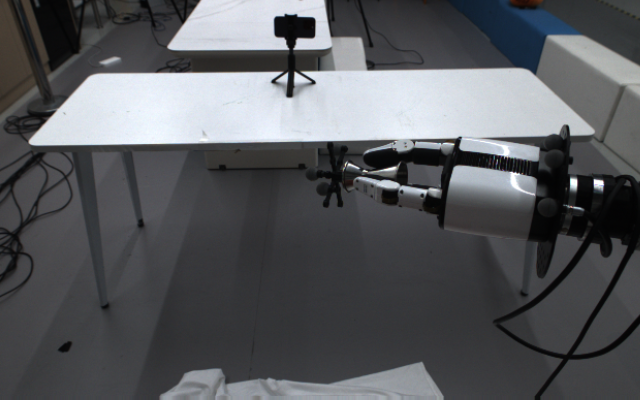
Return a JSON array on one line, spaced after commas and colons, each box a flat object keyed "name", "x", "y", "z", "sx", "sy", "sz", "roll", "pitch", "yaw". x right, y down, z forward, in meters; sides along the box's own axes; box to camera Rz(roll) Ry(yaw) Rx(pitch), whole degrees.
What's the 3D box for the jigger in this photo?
[{"name": "jigger", "x": 0.072, "y": -0.032, "z": 0.573, "sx": 0.071, "sy": 0.043, "sz": 0.043, "roll": 3, "pitch": 32, "yaw": 27}]
